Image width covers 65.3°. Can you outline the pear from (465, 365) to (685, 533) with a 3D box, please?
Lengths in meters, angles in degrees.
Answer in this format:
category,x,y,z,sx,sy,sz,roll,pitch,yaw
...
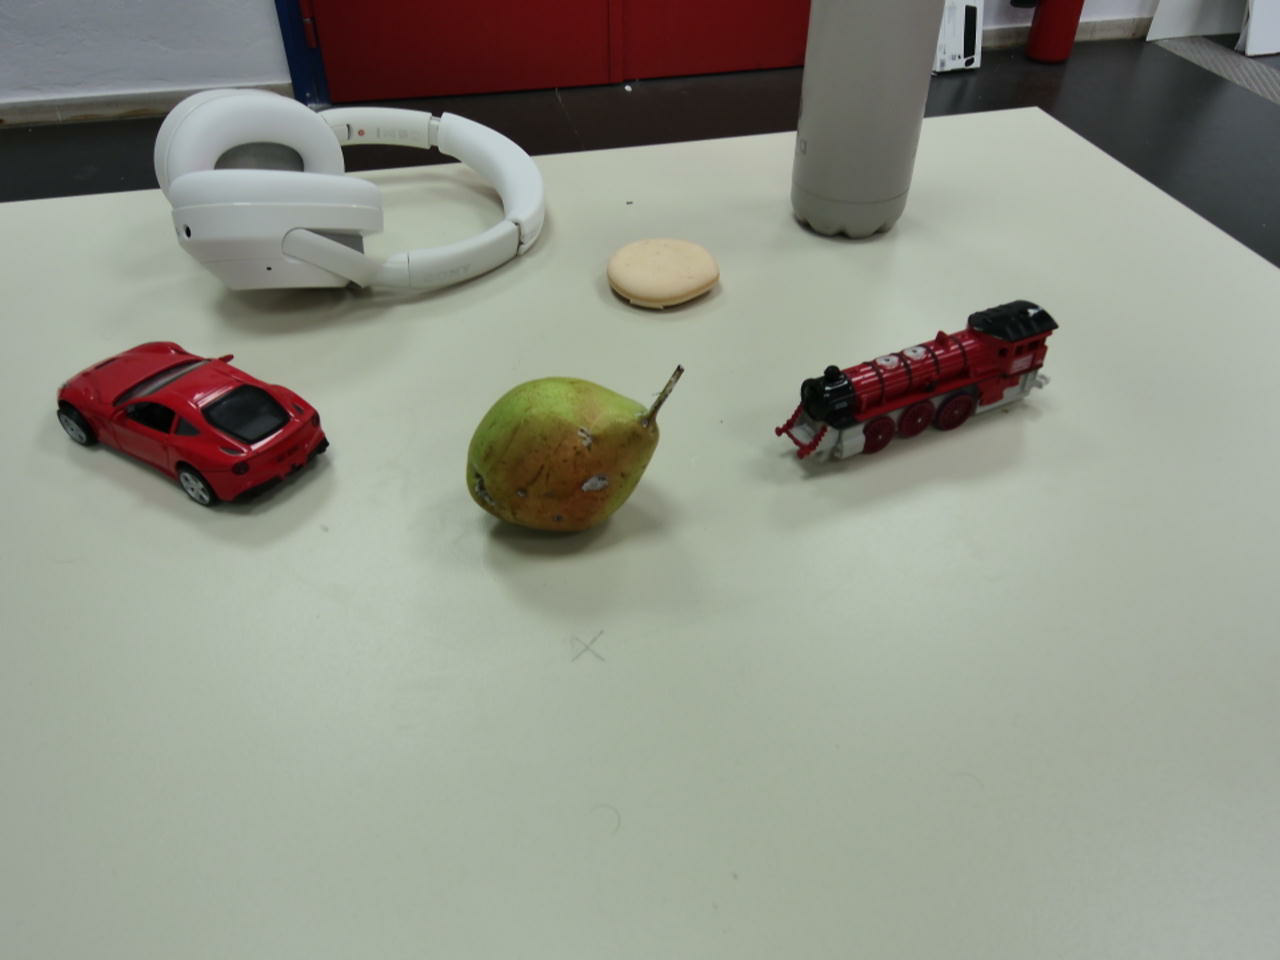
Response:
category,x,y,z,sx,sy,sz,roll,pitch,yaw
pear,-0.031,-0.012,0.397,0.070,0.069,0.068,25,45,29
